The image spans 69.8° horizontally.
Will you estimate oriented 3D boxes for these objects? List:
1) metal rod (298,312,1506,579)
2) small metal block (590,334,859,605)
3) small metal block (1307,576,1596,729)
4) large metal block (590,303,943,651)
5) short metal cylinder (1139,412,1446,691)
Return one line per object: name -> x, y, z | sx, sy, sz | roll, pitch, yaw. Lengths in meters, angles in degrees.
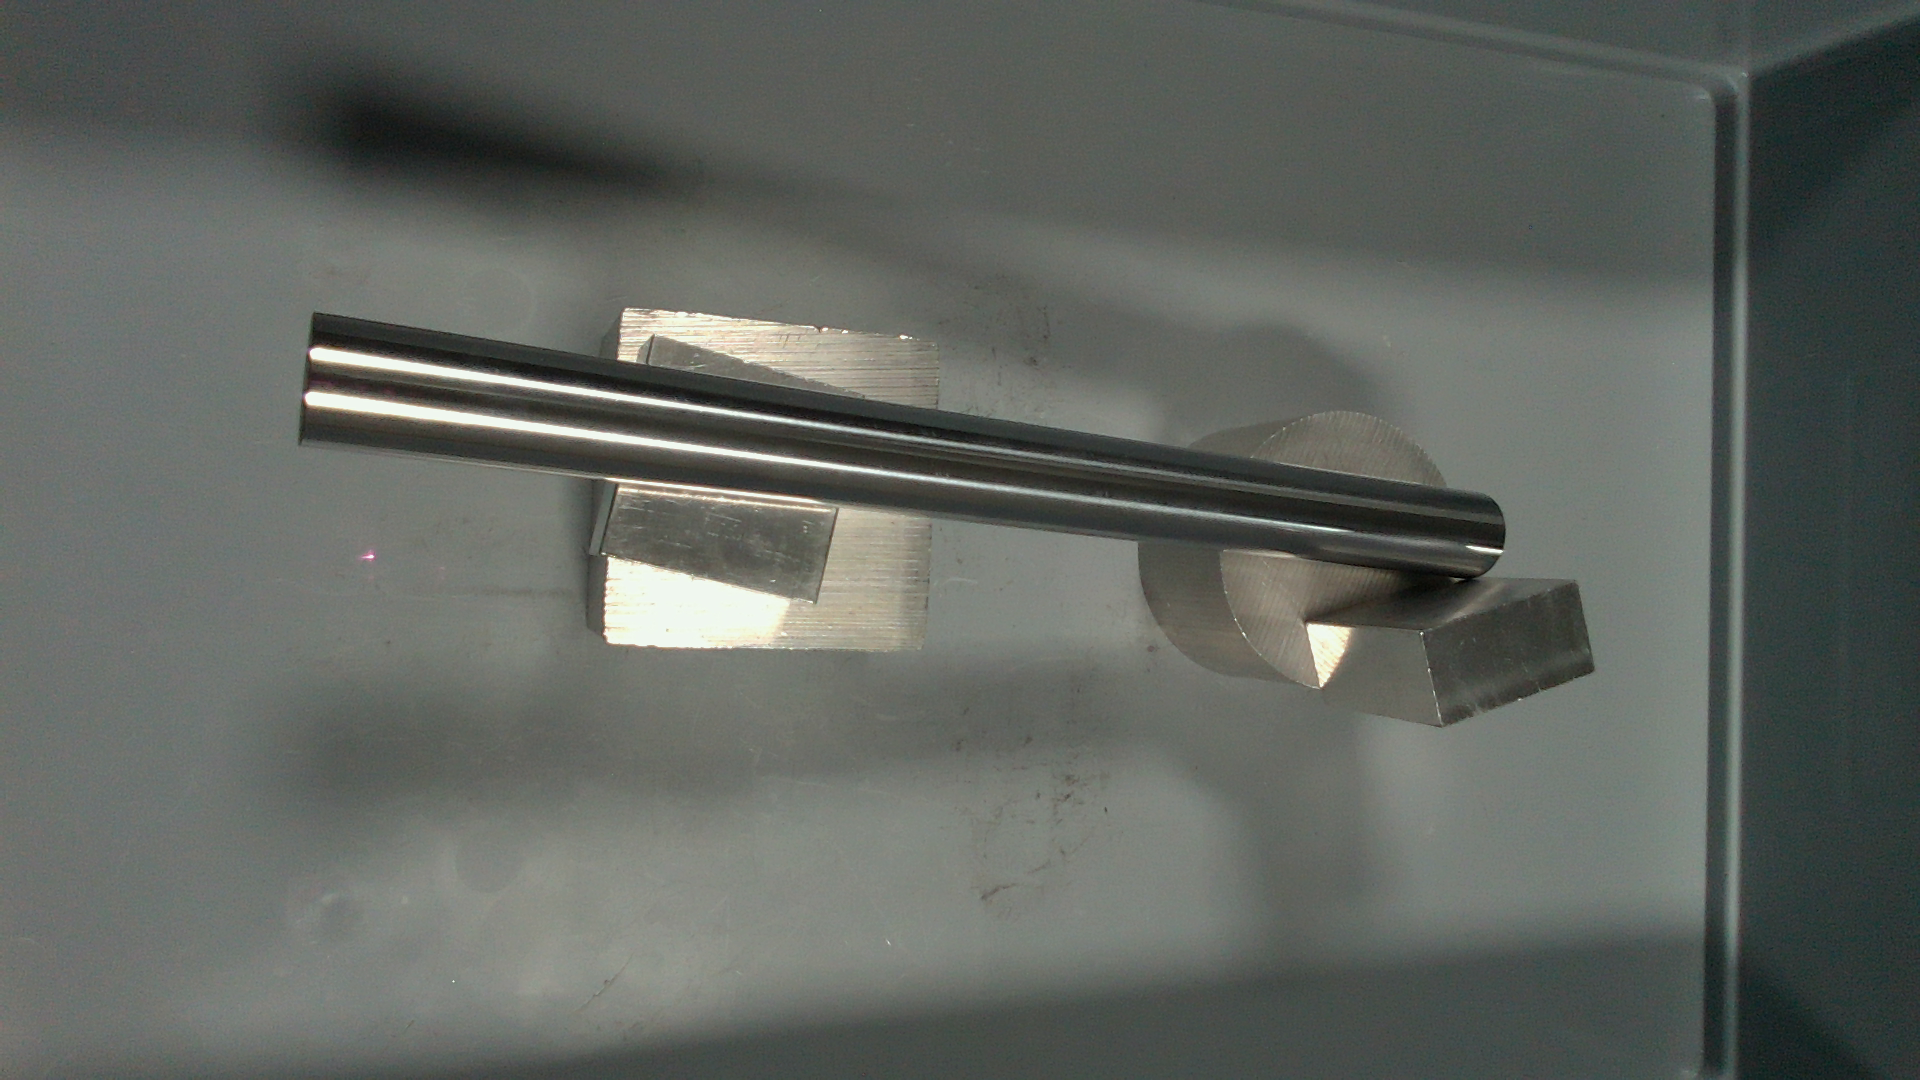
metal rod -> 0.012, -0.015, 0.322 | 0.301, 0.025, 0.025 | 6, 88, -27
small metal block -> -0.054, -0.015, 0.319 | 0.050, 0.025, 0.050 | 14, 85, -19
small metal block -> 0.132, 0.028, 0.373 | 0.050, 0.050, 0.025 | -16, 95, -19
large metal block -> -0.052, -0.014, 0.359 | 0.080, 0.050, 0.080 | 3, 89, -20
short metal cylinder -> 0.101, 0.003, 0.416 | 0.080, 0.050, 0.080 | 0, 90, -20
